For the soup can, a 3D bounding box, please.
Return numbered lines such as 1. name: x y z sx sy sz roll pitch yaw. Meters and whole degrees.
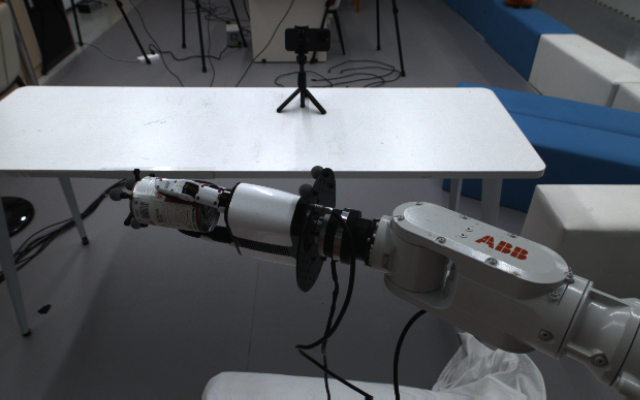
1. soup can: -0.193 0.007 0.658 0.101 0.067 0.067 7 35 10
